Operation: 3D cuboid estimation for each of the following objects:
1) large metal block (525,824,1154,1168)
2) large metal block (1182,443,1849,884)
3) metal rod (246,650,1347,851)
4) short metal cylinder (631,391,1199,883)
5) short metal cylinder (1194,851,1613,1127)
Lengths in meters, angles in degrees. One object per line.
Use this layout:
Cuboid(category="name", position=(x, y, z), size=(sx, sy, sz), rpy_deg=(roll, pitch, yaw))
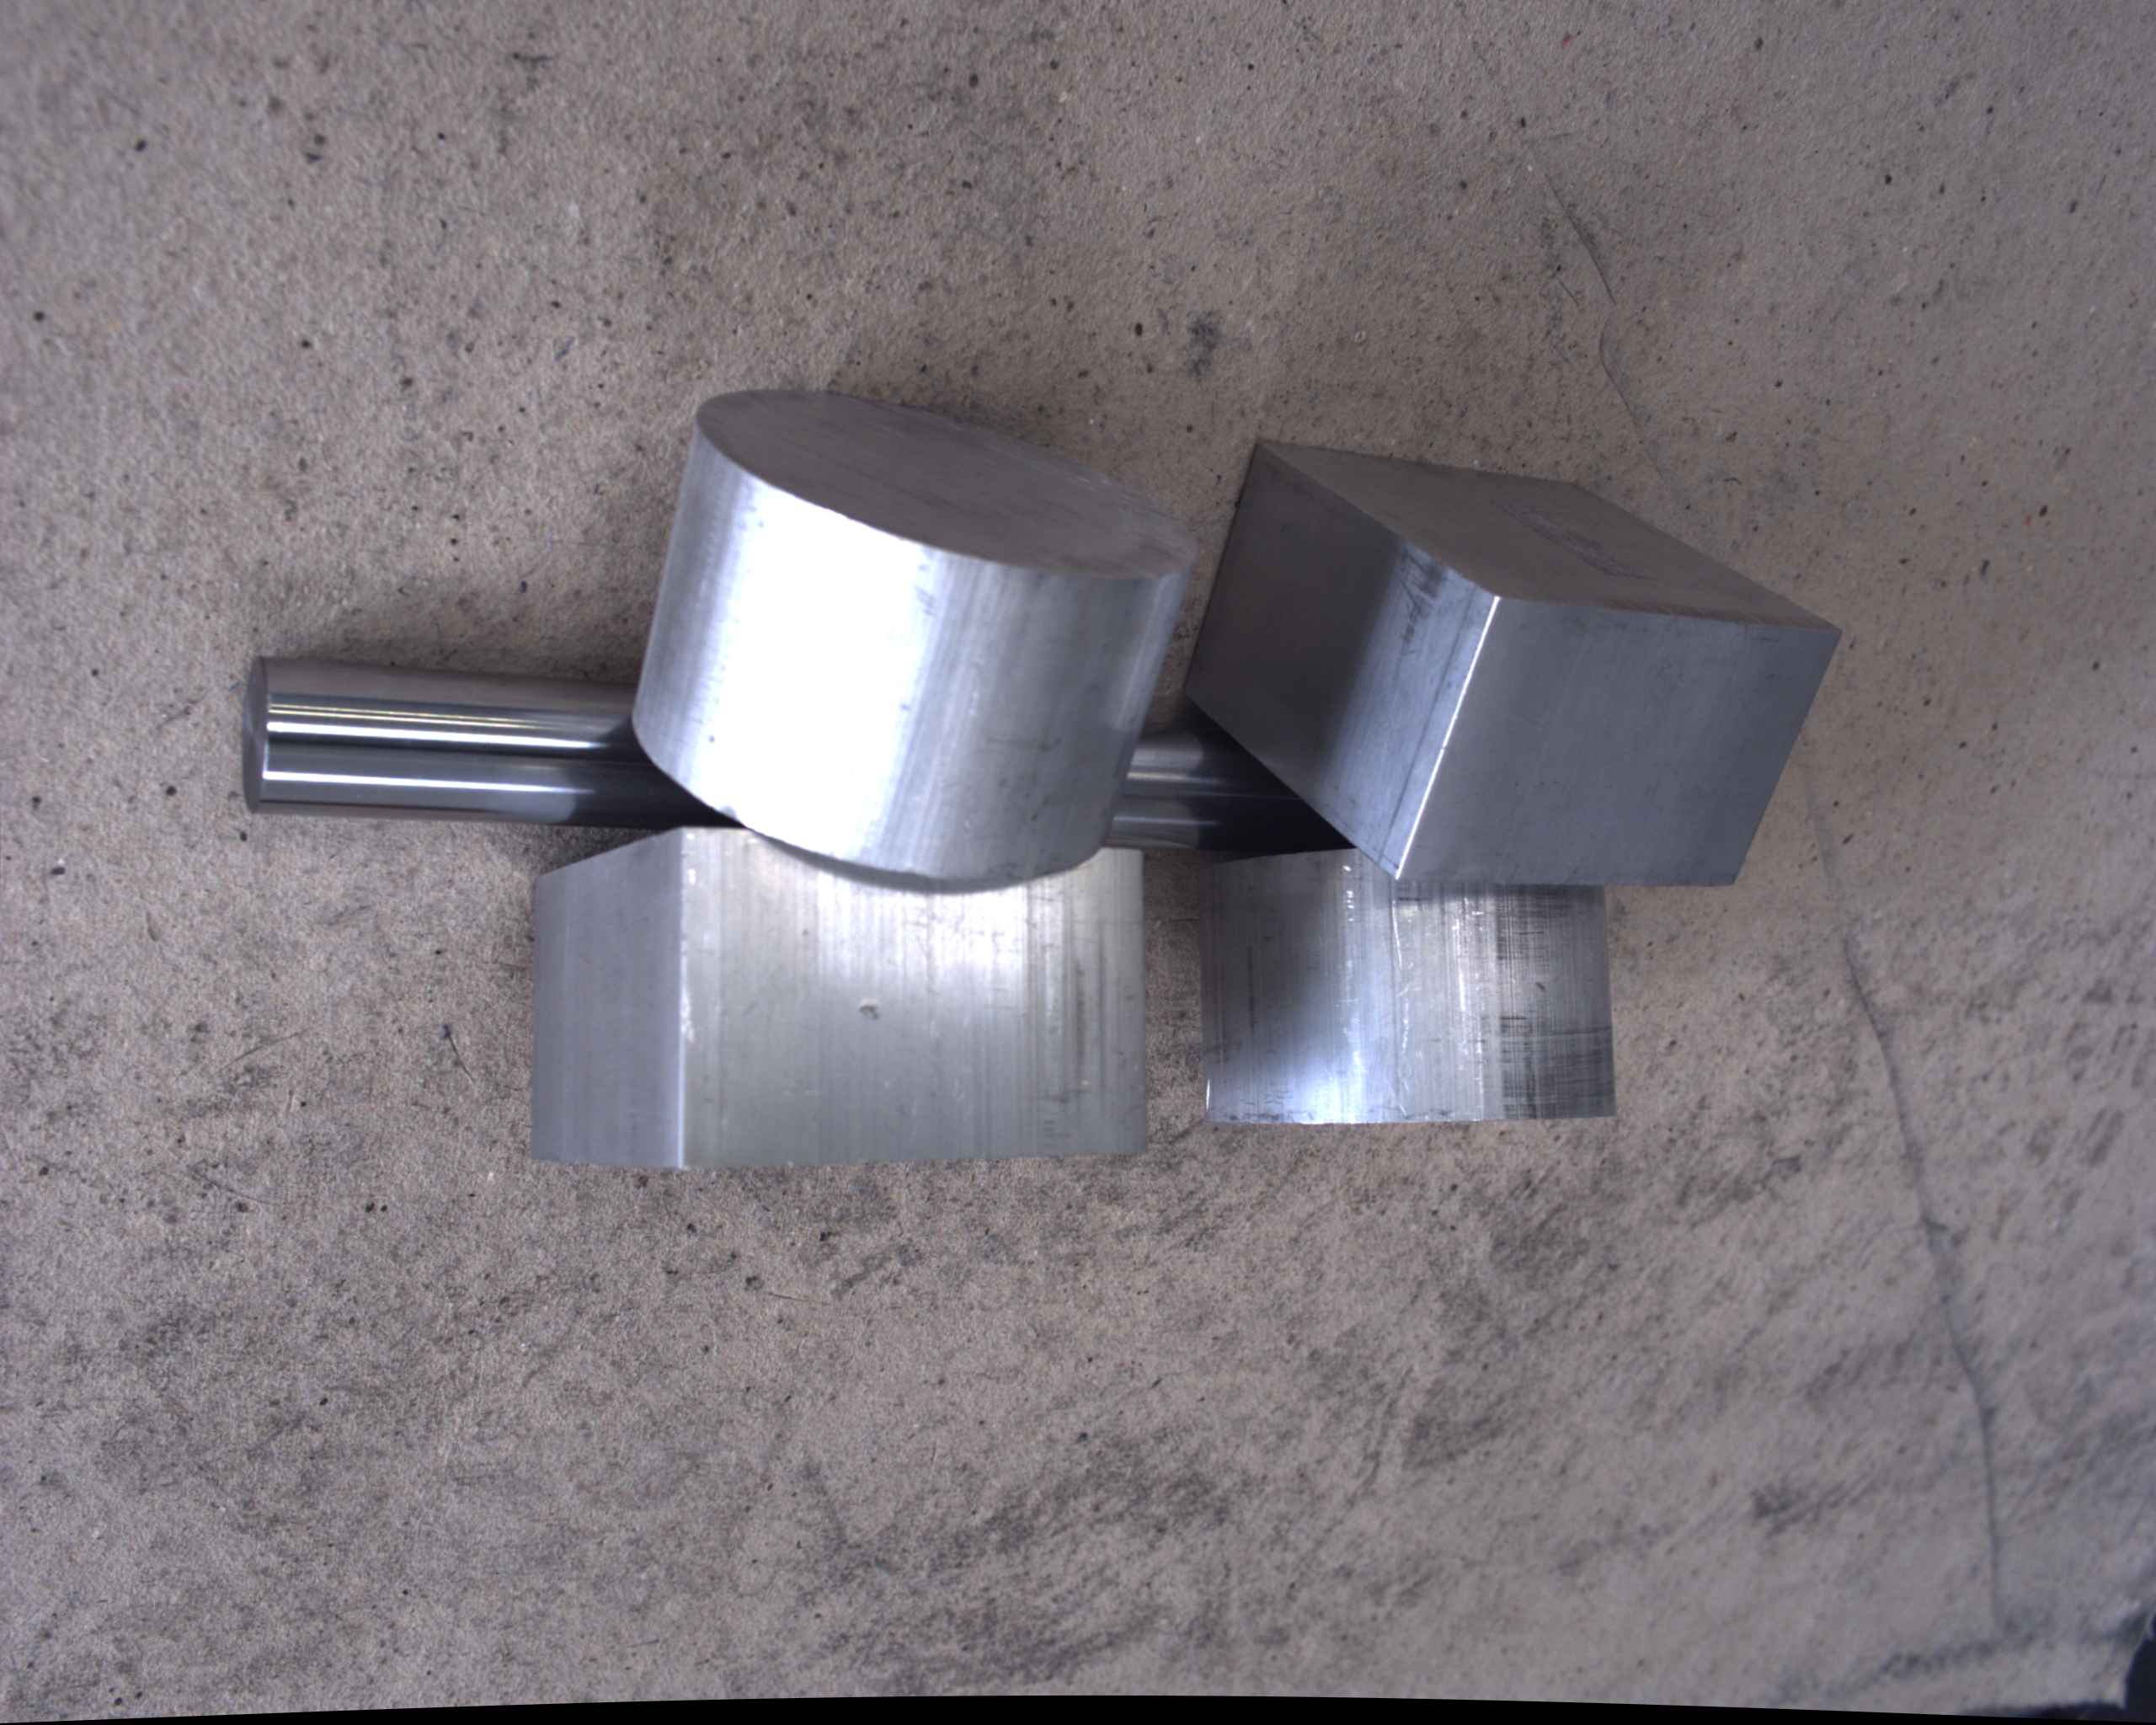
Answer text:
Cuboid(category="large metal block", position=(-0.043, 0.024, 0.356), size=(0.081, 0.080, 0.050), rpy_deg=(2, 83, -30))
Cuboid(category="large metal block", position=(0.079, -0.038, 0.392), size=(0.081, 0.080, 0.050), rpy_deg=(1, 118, -29))
Cuboid(category="metal rod", position=(0.002, -0.016, 0.402), size=(0.303, 0.025, 0.025), rpy_deg=(2, 118, -30))
Cuboid(category="short metal cylinder", position=(-0.027, -0.038, 0.334), size=(0.081, 0.080, 0.050), rpy_deg=(3, 117, -30))
Cuboid(category="short metal cylinder", position=(0.064, 0.026, 0.416), size=(0.081, 0.080, 0.050), rpy_deg=(2, 83, -29))
